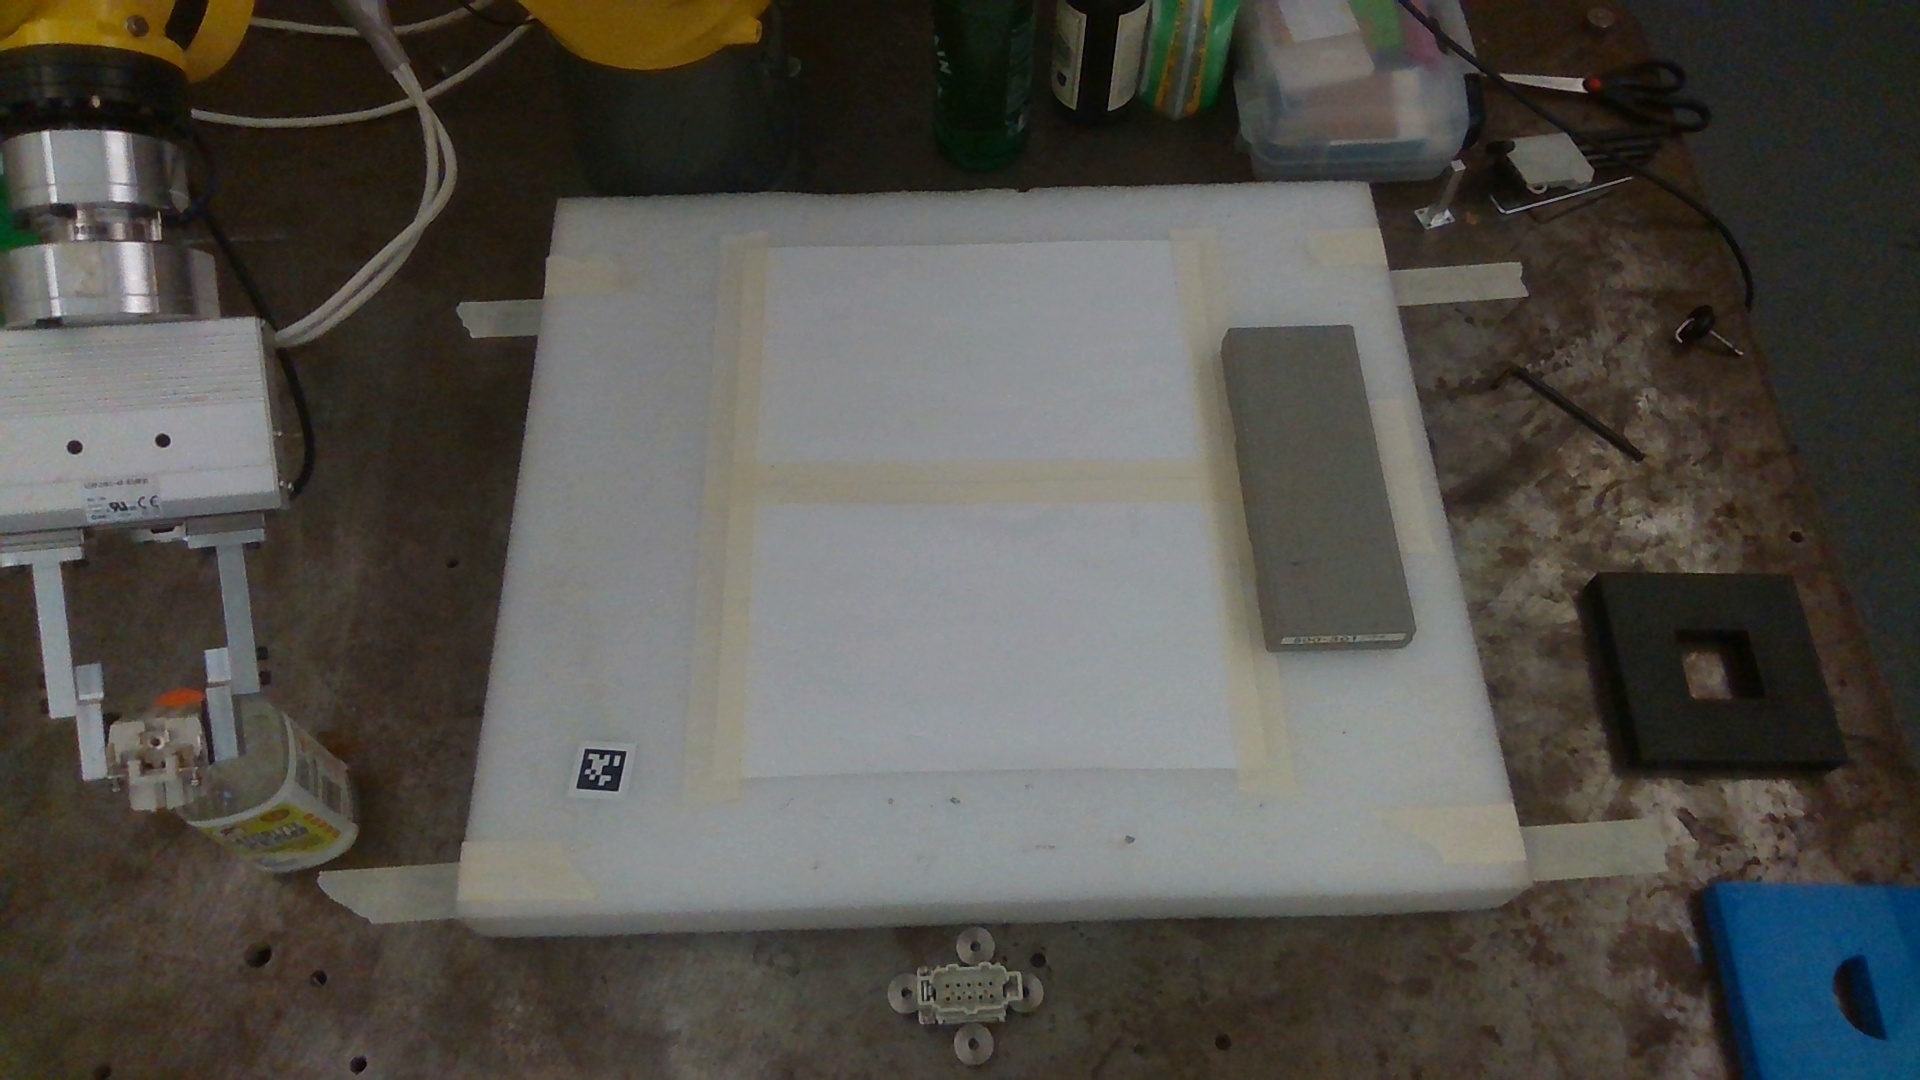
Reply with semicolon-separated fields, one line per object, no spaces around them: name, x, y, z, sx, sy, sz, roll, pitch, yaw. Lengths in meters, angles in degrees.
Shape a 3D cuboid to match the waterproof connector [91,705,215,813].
waterproof connector;-0.365;0.099;0.630;0.036;0.069;0.038;-8;95;-16
